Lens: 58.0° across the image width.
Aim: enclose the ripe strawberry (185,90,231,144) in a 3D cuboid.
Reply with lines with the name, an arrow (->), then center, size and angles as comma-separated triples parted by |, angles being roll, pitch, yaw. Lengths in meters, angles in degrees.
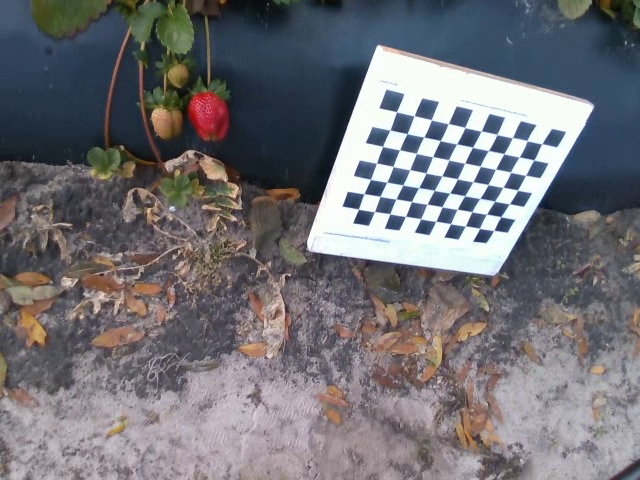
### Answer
ripe strawberry -> -0.136, -0.145, 0.678 | 0.066, 0.075, 0.053 | -8, 38, -7
